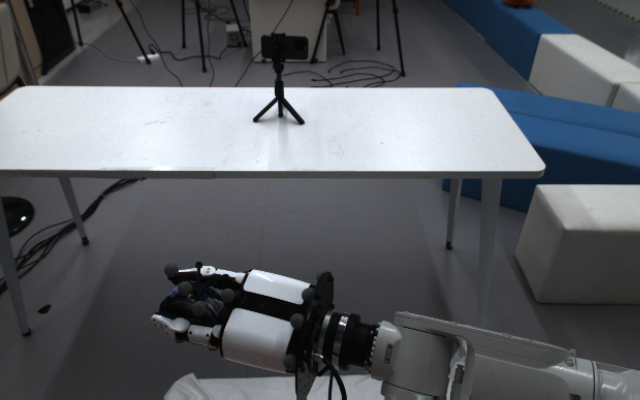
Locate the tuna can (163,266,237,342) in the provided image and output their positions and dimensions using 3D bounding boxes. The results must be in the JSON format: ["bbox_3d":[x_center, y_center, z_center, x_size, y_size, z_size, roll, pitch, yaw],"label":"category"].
[{"bbox_3d":[-0.162,0.149,0.638,0.085,0.085,0.034,12,33,14],"label":"tuna can"}]
